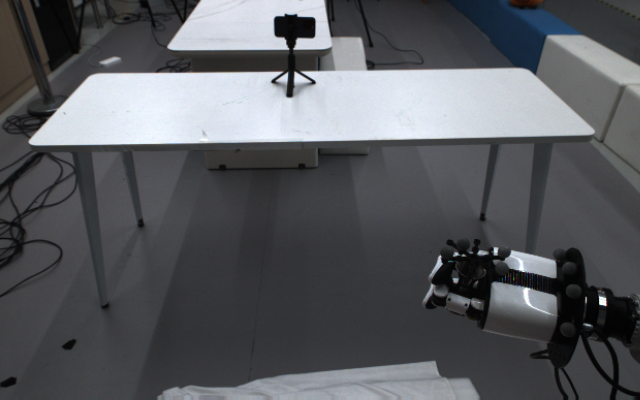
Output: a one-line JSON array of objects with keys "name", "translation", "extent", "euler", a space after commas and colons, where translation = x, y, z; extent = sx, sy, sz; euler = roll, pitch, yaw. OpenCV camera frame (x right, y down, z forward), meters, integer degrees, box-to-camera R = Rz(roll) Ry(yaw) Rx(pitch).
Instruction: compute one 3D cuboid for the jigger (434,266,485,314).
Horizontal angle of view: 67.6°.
[{"name": "jigger", "translation": [0.203, 0.118, 0.673], "extent": [0.043, 0.071, 0.043], "euler": [4, 31, -2]}]
